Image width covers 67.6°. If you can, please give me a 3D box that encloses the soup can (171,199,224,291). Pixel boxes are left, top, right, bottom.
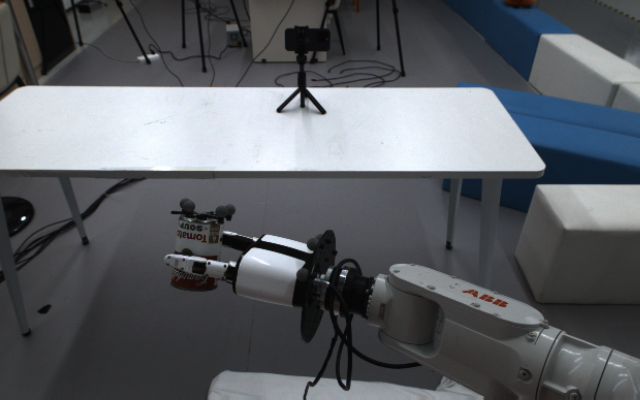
[{"bbox_3d":[-0.179,0.078,0.712,0.067,0.101,0.067,7,3,0],"label":"soup can"}]
